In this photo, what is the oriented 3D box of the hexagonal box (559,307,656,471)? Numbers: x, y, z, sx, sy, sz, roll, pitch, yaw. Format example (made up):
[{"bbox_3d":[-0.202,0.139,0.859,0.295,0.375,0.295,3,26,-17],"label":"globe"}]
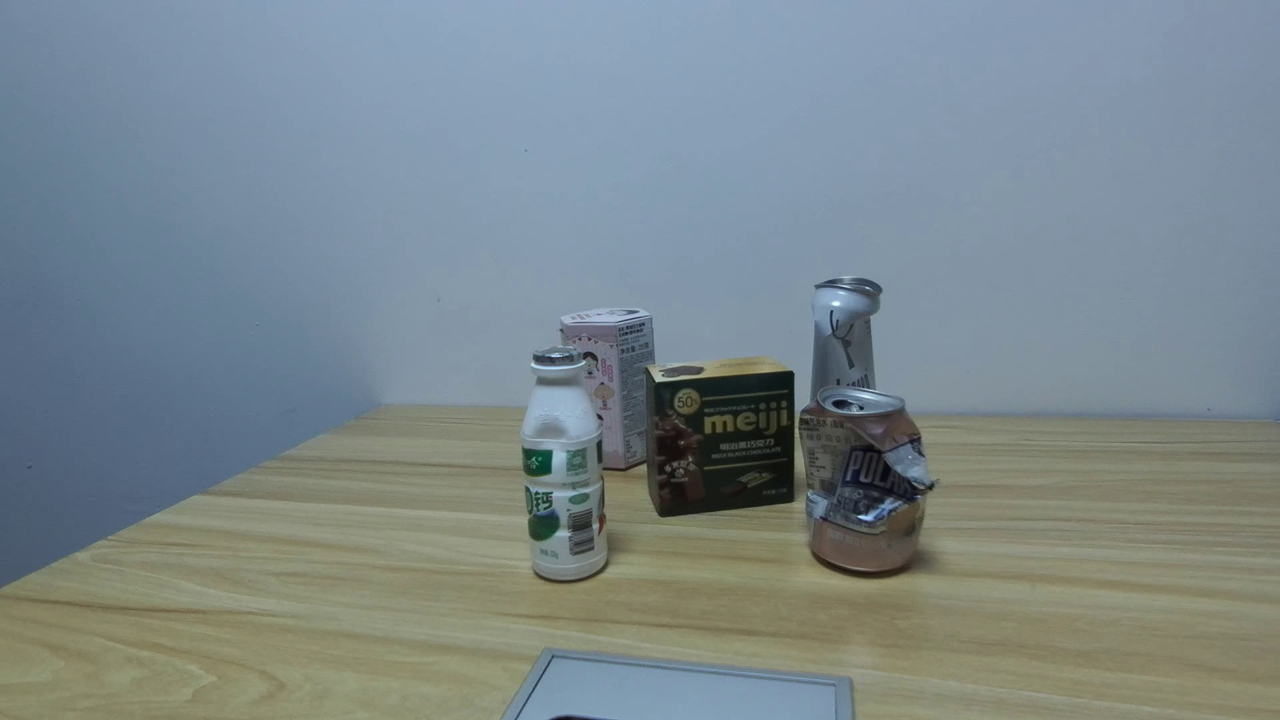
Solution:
[{"bbox_3d":[-0.029,0.025,0.659,0.084,0.136,0.091,-5,12,-13],"label":"hexagonal box"}]

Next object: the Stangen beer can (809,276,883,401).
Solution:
[{"bbox_3d":[0.175,0.013,0.605,0.066,0.162,0.077,-4,14,-1],"label":"Stangen beer can"}]

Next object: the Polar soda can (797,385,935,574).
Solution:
[{"bbox_3d":[0.143,0.076,0.451,0.074,0.114,0.070,-5,18,6],"label":"Polar soda can"}]

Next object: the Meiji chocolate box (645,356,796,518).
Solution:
[{"bbox_3d":[0.062,0.059,0.555,0.110,0.109,0.056,-4,13,-7],"label":"Meiji chocolate box"}]

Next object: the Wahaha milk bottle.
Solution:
[{"bbox_3d":[-0.049,0.072,0.458,0.053,0.136,0.053,-2,12,1],"label":"Wahaha milk bottle"}]
